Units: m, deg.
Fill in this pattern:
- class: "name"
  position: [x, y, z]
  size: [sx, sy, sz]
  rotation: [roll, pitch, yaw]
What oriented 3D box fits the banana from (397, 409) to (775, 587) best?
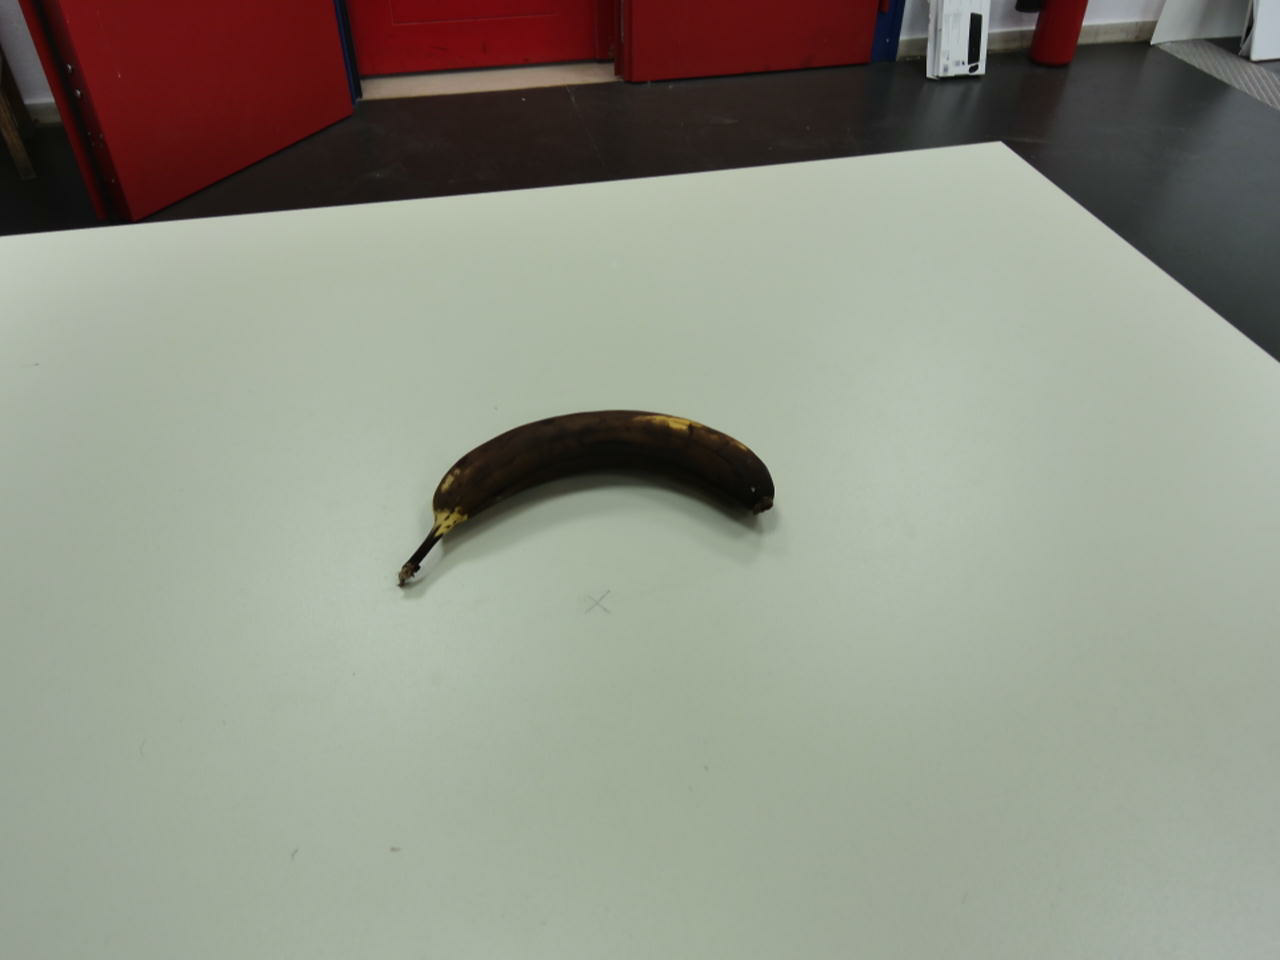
- class: "banana"
  position: [-0.030, -0.003, 0.511]
  size: [0.188, 0.034, 0.091]
  rotation: [-8, 40, -9]
